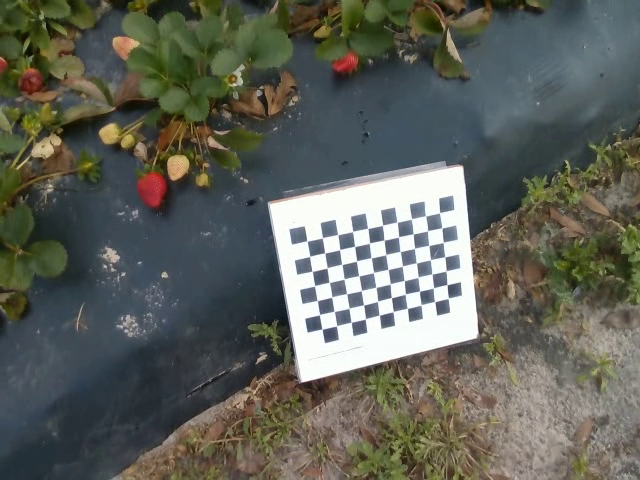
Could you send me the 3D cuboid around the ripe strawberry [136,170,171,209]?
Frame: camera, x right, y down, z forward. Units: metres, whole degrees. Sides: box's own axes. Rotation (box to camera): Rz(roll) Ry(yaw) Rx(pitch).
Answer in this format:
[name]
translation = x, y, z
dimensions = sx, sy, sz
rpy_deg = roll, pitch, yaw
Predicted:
[ripe strawberry]
translation = -0.228, -0.068, 0.805
dimensions = 0.050, 0.059, 0.034
rpy_deg = -23, -32, -6
